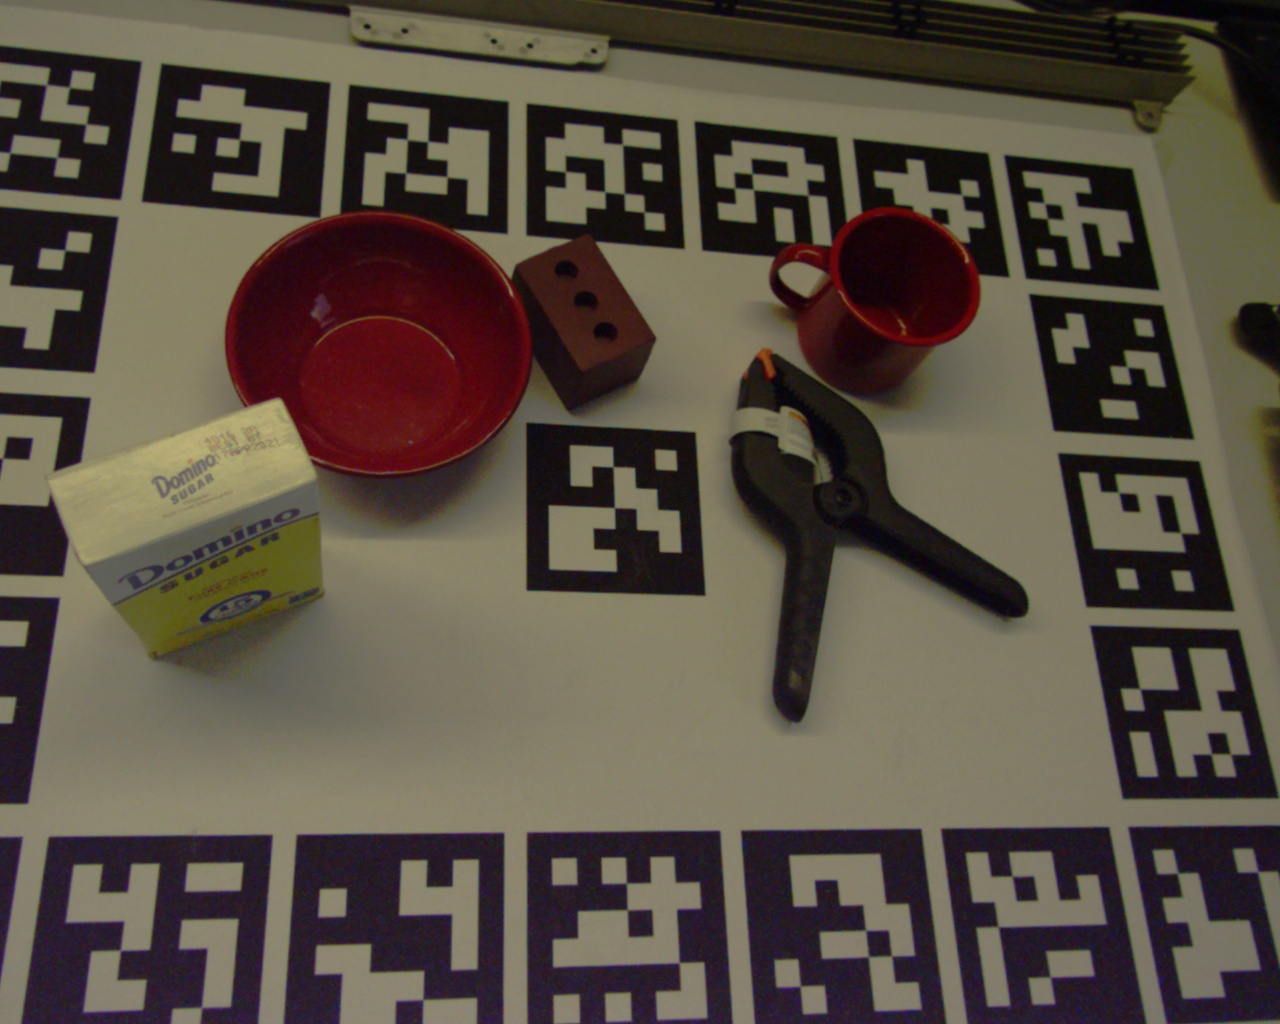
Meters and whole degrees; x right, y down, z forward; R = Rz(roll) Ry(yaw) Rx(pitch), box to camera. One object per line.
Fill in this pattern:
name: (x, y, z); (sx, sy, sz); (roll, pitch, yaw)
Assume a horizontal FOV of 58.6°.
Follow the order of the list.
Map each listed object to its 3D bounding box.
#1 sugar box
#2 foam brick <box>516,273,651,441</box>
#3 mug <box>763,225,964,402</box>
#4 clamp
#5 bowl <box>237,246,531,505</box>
sugar box: (-0.195, 0.038, 0.544); (0.092, 0.177, 0.045); (-25, 81, -21)
foam brick: (-0.036, -0.093, 0.697); (0.052, 0.051, 0.078); (-28, 80, -19)
mug: (0.132, -0.125, 0.719); (0.117, 0.082, 0.093); (25, 68, -6)
clamp: (0.106, 0.002, 0.688); (0.164, 0.037, 0.203); (-24, 78, -16)
bowl: (-0.146, -0.070, 0.657); (0.161, 0.055, 0.162); (4, 70, -12)
